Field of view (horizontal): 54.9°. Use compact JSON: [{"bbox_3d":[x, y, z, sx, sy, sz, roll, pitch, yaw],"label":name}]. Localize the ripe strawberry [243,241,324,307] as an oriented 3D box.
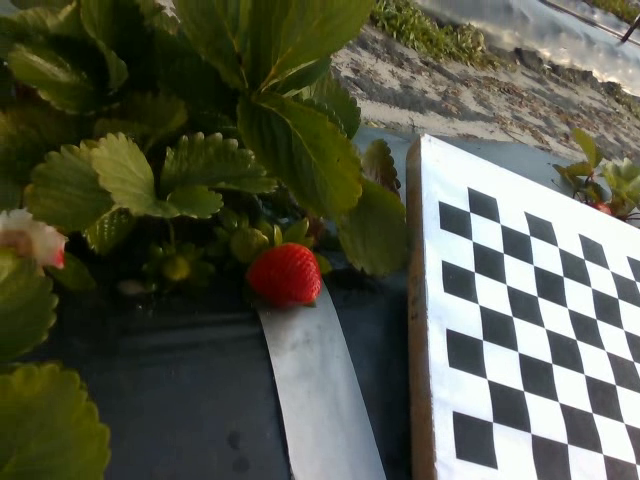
[{"bbox_3d":[-0.012,0.019,0.304,0.050,0.036,0.055,20,31,-25],"label":"ripe strawberry"}]
